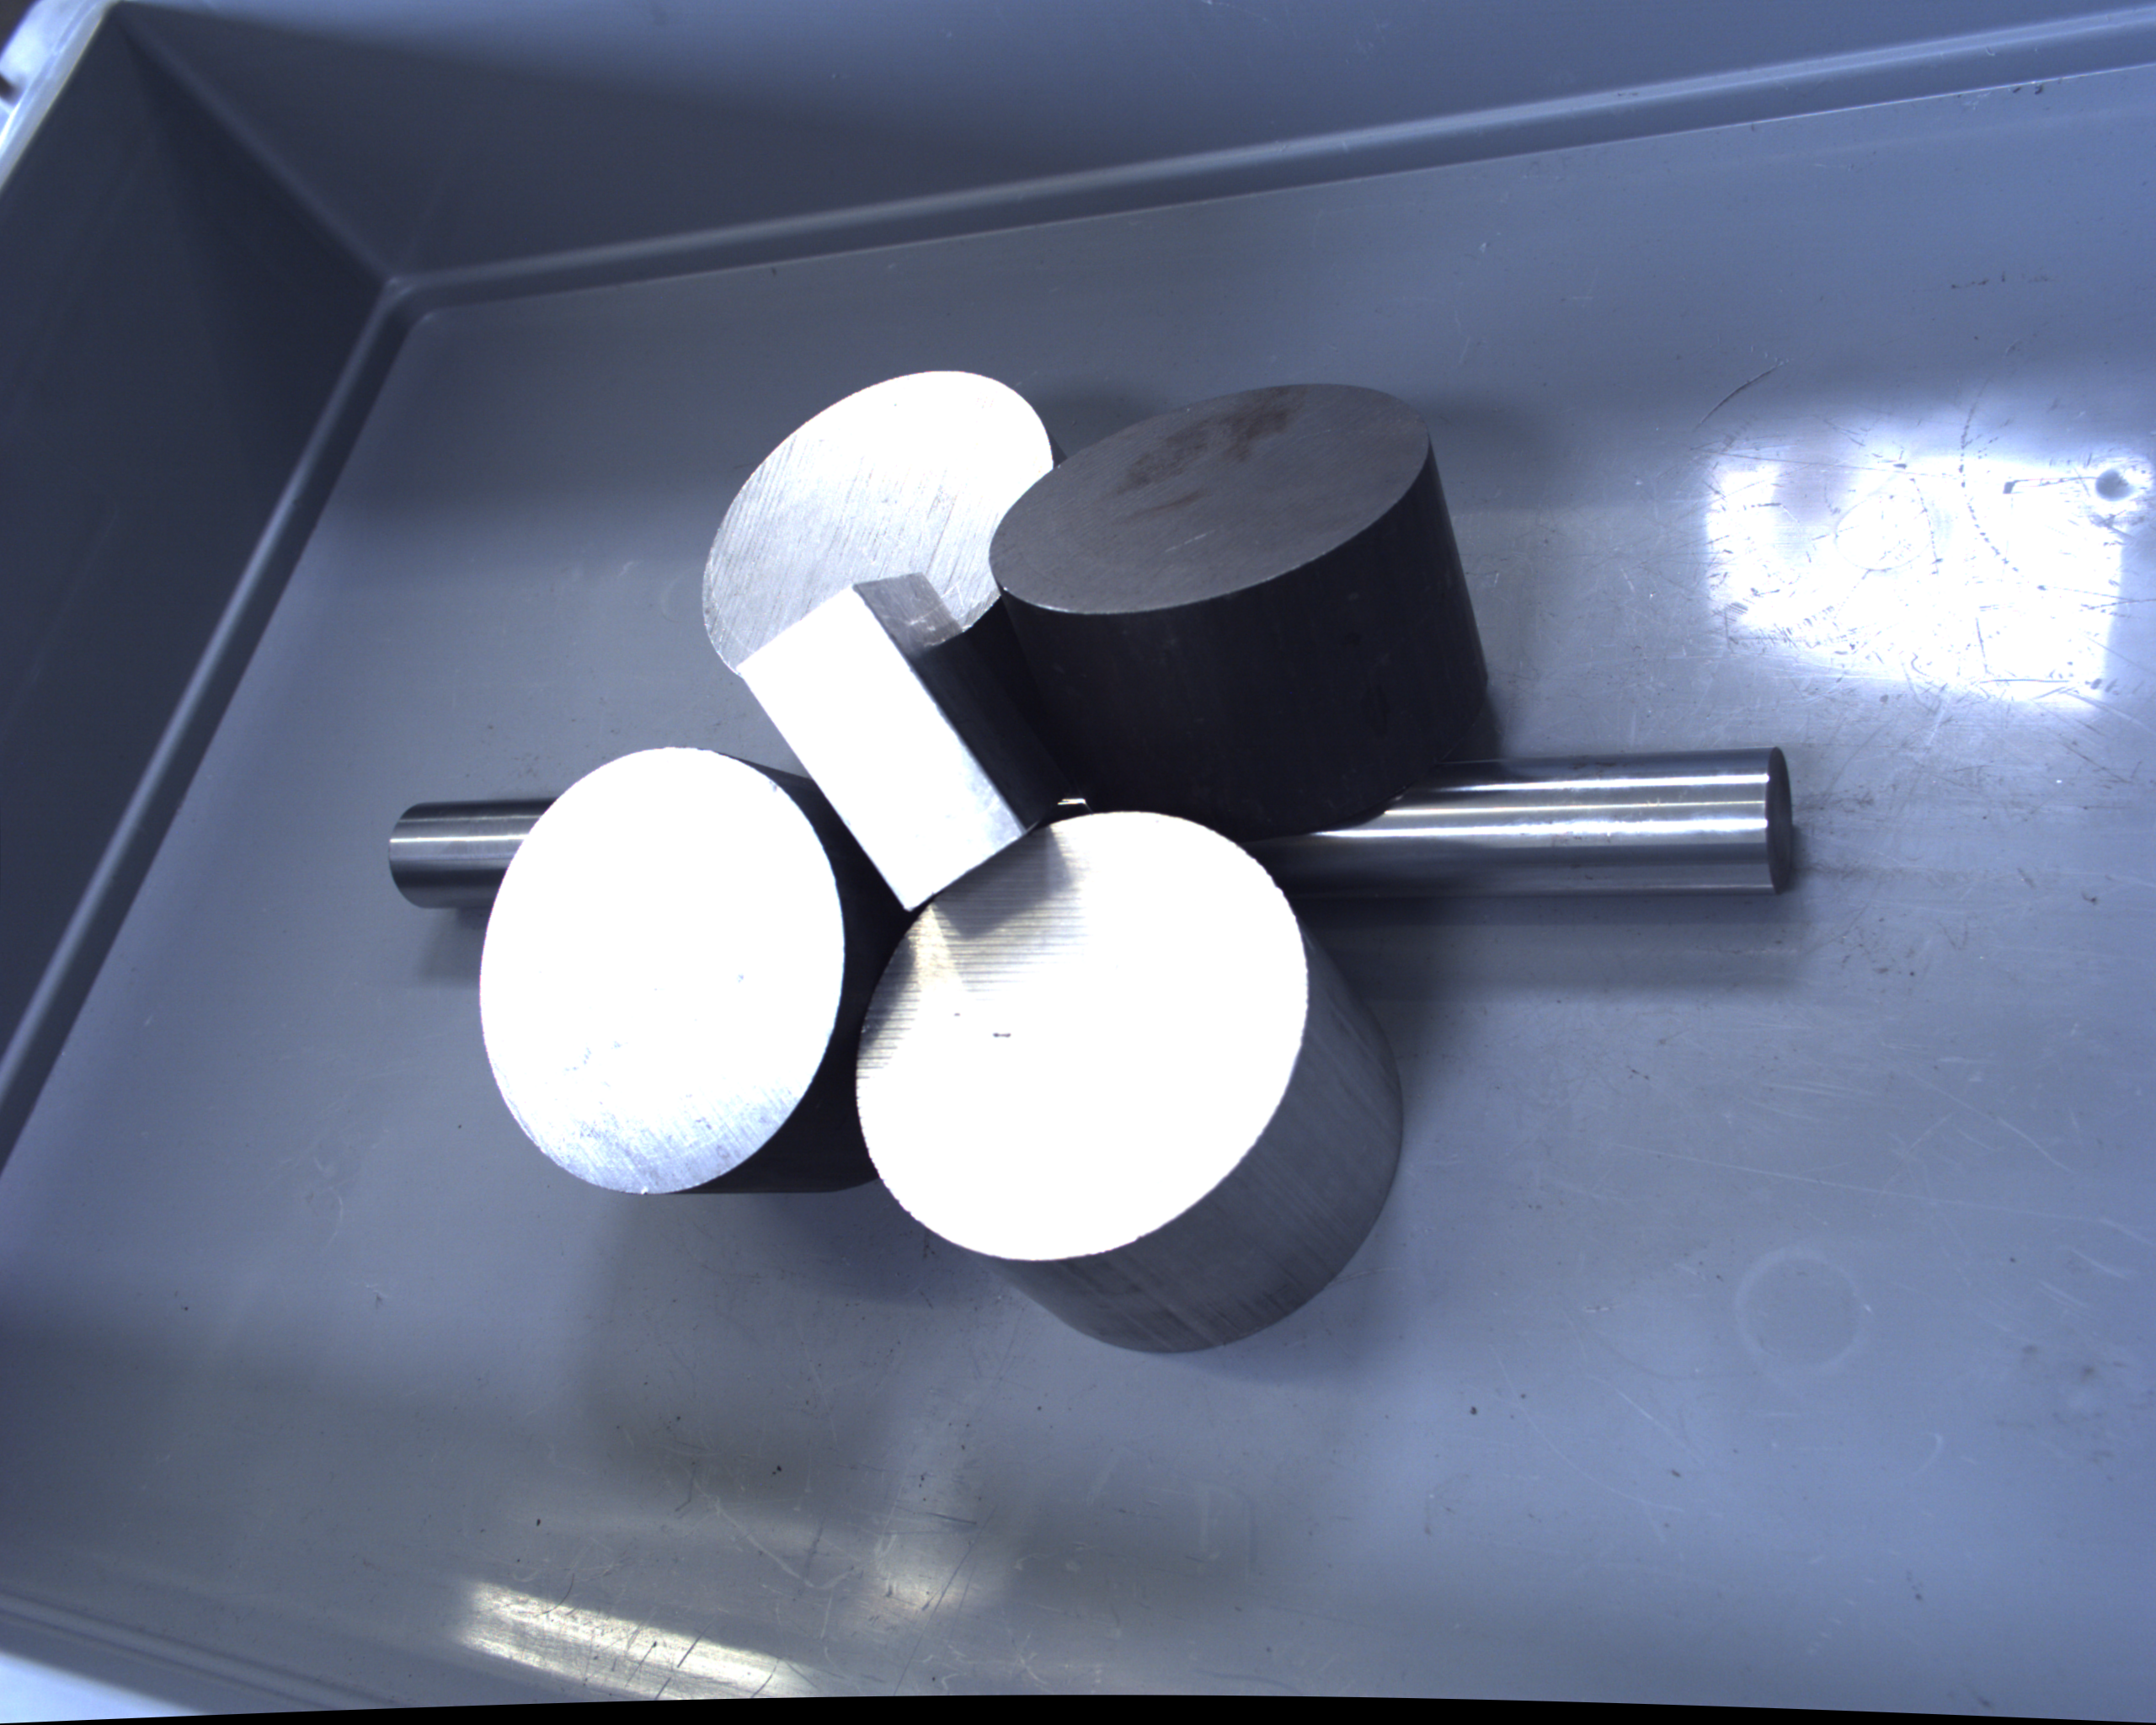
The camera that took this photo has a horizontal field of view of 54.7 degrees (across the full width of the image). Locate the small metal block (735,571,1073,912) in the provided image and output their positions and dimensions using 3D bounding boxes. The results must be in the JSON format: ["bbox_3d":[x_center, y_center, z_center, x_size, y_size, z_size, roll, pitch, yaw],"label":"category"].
[{"bbox_3d":[-0.029,-0.023,0.371,0.025,0.050,0.050,-34,93,13],"label":"small metal block"}]

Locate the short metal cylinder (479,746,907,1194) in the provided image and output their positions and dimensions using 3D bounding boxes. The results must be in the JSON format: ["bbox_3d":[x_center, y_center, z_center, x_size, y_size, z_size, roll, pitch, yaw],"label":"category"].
[{"bbox_3d":[-0.064,0.022,0.392,0.080,0.050,0.080,-5,80,26],"label":"short metal cylinder"}]

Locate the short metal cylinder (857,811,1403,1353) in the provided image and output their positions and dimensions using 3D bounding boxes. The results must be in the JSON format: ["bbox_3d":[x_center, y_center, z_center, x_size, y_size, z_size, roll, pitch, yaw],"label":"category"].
[{"bbox_3d":[0.010,0.038,0.359,0.080,0.050,0.080,-13,56,21],"label":"short metal cylinder"}]

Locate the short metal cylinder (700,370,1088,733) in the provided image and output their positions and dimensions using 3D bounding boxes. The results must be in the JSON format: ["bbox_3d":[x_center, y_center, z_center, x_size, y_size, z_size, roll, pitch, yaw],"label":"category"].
[{"bbox_3d":[-0.031,-0.056,0.438,0.080,0.050,0.080,-13,56,21],"label":"short metal cylinder"}]

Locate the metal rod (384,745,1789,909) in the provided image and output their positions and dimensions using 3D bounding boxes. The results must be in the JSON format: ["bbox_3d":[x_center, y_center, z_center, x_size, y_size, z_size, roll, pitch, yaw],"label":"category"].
[{"bbox_3d":[-0.018,-0.004,0.415,0.300,0.025,0.025,-1,61,27],"label":"metal rod"}]

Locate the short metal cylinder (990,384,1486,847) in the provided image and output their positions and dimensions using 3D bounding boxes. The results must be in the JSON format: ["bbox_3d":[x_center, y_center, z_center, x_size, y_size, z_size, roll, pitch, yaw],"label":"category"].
[{"bbox_3d":[0.030,-0.046,0.383,0.080,0.050,0.080,-14,34,10],"label":"short metal cylinder"}]
